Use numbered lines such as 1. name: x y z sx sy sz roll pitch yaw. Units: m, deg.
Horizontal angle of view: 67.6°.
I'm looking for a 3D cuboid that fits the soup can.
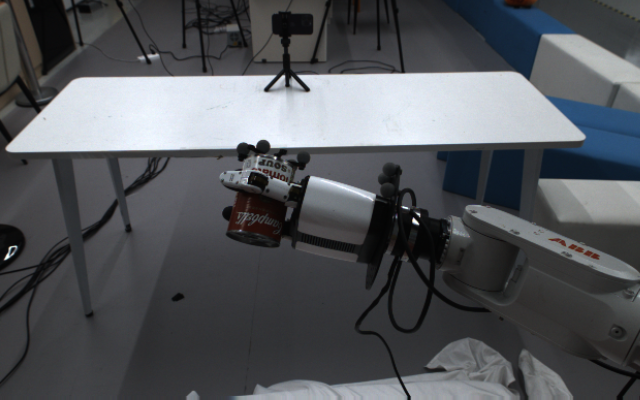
1. soup can: -0.071 0.002 0.601 0.067 0.067 0.101 8 72 9
